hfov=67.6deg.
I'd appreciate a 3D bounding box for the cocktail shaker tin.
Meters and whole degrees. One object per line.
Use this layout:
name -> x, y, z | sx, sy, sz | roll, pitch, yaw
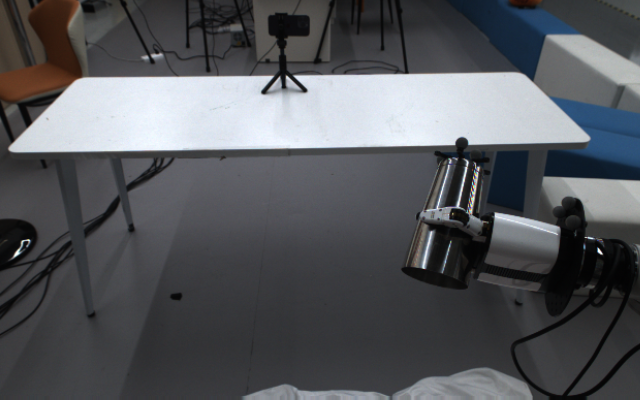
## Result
cocktail shaker tin -> 0.182, 0.031, 0.684 | 0.093, 0.093, 0.170 | 14, 73, 16
